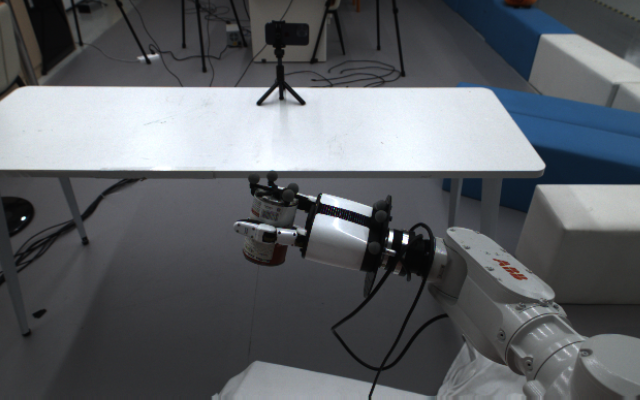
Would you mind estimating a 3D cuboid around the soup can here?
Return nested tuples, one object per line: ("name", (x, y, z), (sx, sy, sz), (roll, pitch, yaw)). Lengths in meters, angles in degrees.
("soup can", (-0.074, 0.040, 0.727), (0.067, 0.101, 0.067), (13, 18, -4))
